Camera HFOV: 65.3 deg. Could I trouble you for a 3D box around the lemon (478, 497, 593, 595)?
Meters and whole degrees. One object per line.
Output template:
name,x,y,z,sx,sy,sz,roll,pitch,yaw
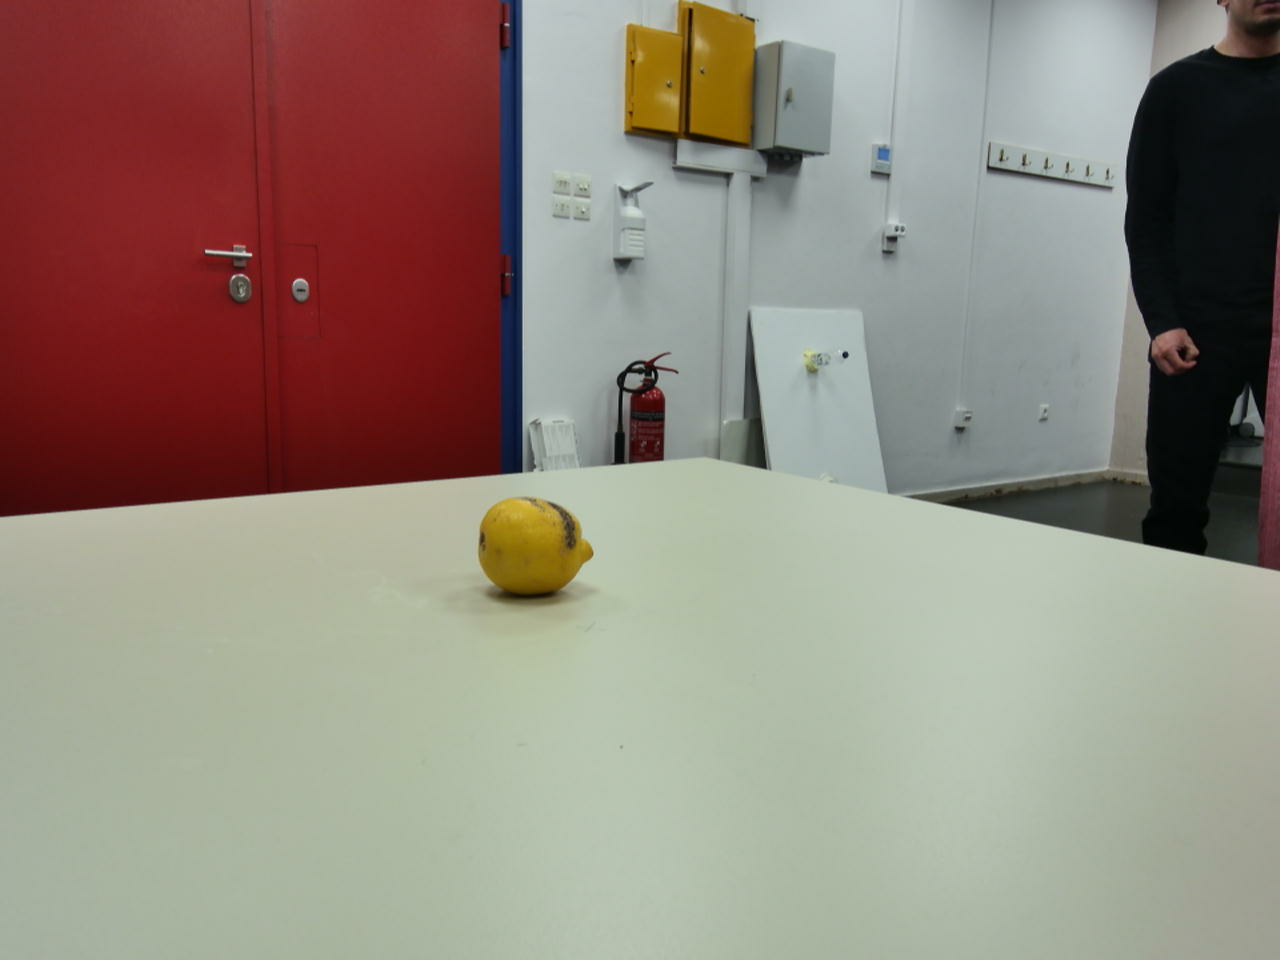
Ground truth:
lemon,-0.063,0.038,0.577,0.061,0.056,0.058,-7,11,-43
